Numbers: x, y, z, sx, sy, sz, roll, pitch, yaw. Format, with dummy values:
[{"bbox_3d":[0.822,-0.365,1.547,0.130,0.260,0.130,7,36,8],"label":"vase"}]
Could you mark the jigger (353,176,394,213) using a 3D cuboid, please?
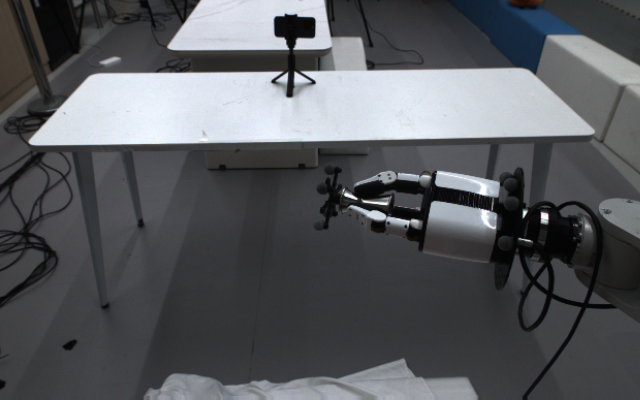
[{"bbox_3d":[0.070,0.003,0.666,0.071,0.043,0.043,11,36,15],"label":"jigger"}]
